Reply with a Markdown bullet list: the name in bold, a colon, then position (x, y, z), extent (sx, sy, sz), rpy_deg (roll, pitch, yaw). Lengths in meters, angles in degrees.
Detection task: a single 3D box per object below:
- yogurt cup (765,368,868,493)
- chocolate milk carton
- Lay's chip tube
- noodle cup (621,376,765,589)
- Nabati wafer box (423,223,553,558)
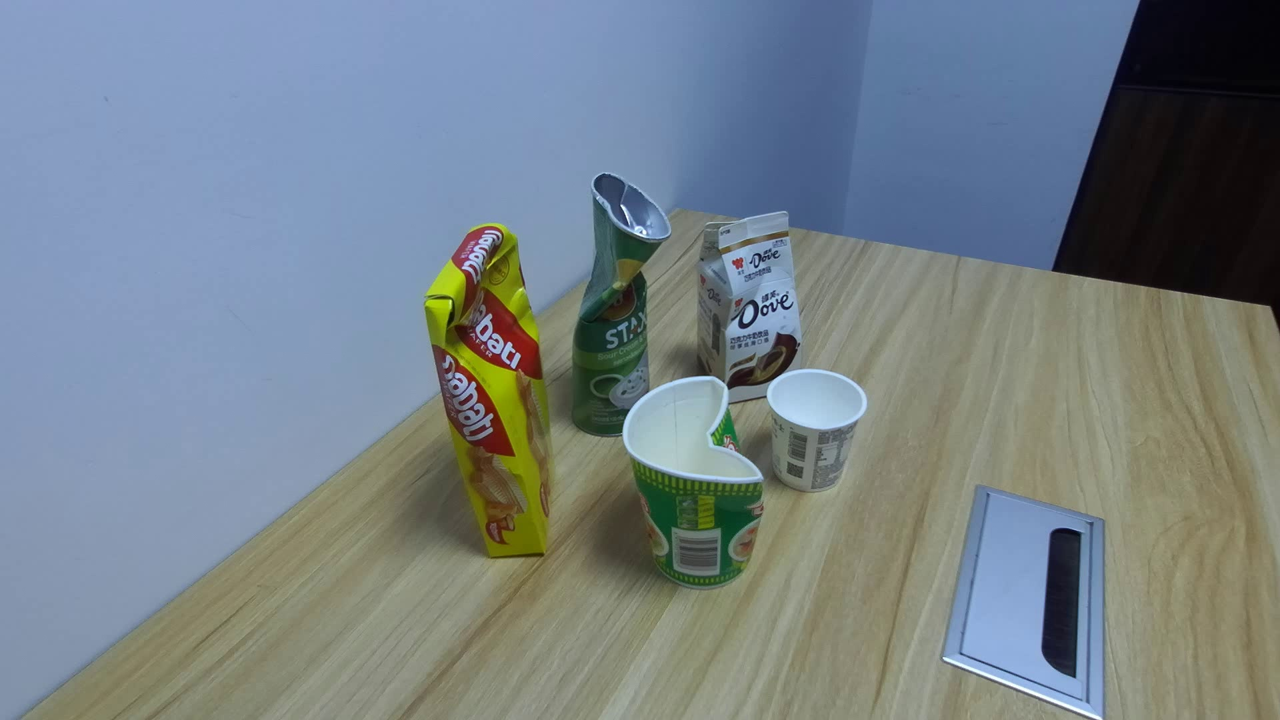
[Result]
- **yogurt cup**: position (0.126, 0.054, 0.519), extent (0.072, 0.068, 0.072), rpy_deg (-2, 34, 2)
- **chocolate milk carton**: position (0.096, -0.050, 0.598), extent (0.084, 0.155, 0.073), rpy_deg (-10, 35, -11)
- **Lay's chip tube**: position (-0.017, -0.033, 0.547), extent (0.071, 0.199, 0.079), rpy_deg (12, 37, 7)
- **noodle cup**: position (0.037, 0.080, 0.447), extent (0.087, 0.109, 0.094), rpy_deg (6, 35, 13)
- **Nabati wafer box**: position (-0.090, 0.026, 0.458), extent (0.042, 0.205, 0.113), rpy_deg (-3, 34, 3)
